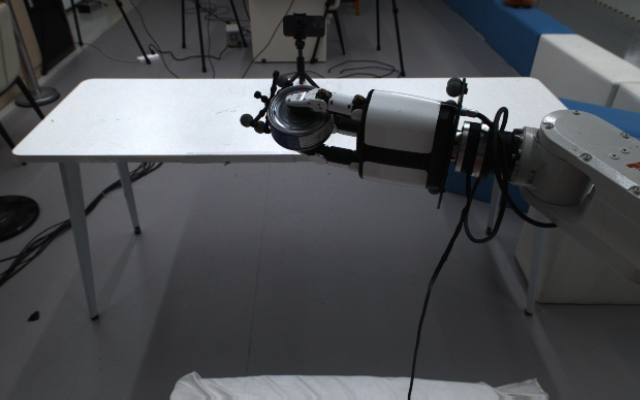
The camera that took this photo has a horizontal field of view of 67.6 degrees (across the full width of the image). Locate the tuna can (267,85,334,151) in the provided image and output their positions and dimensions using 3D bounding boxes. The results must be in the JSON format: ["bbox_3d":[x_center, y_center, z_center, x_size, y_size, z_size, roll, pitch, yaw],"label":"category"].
[{"bbox_3d":[-0.022,-0.104,0.628,0.085,0.034,0.085,-1,61,2],"label":"tuna can"}]
